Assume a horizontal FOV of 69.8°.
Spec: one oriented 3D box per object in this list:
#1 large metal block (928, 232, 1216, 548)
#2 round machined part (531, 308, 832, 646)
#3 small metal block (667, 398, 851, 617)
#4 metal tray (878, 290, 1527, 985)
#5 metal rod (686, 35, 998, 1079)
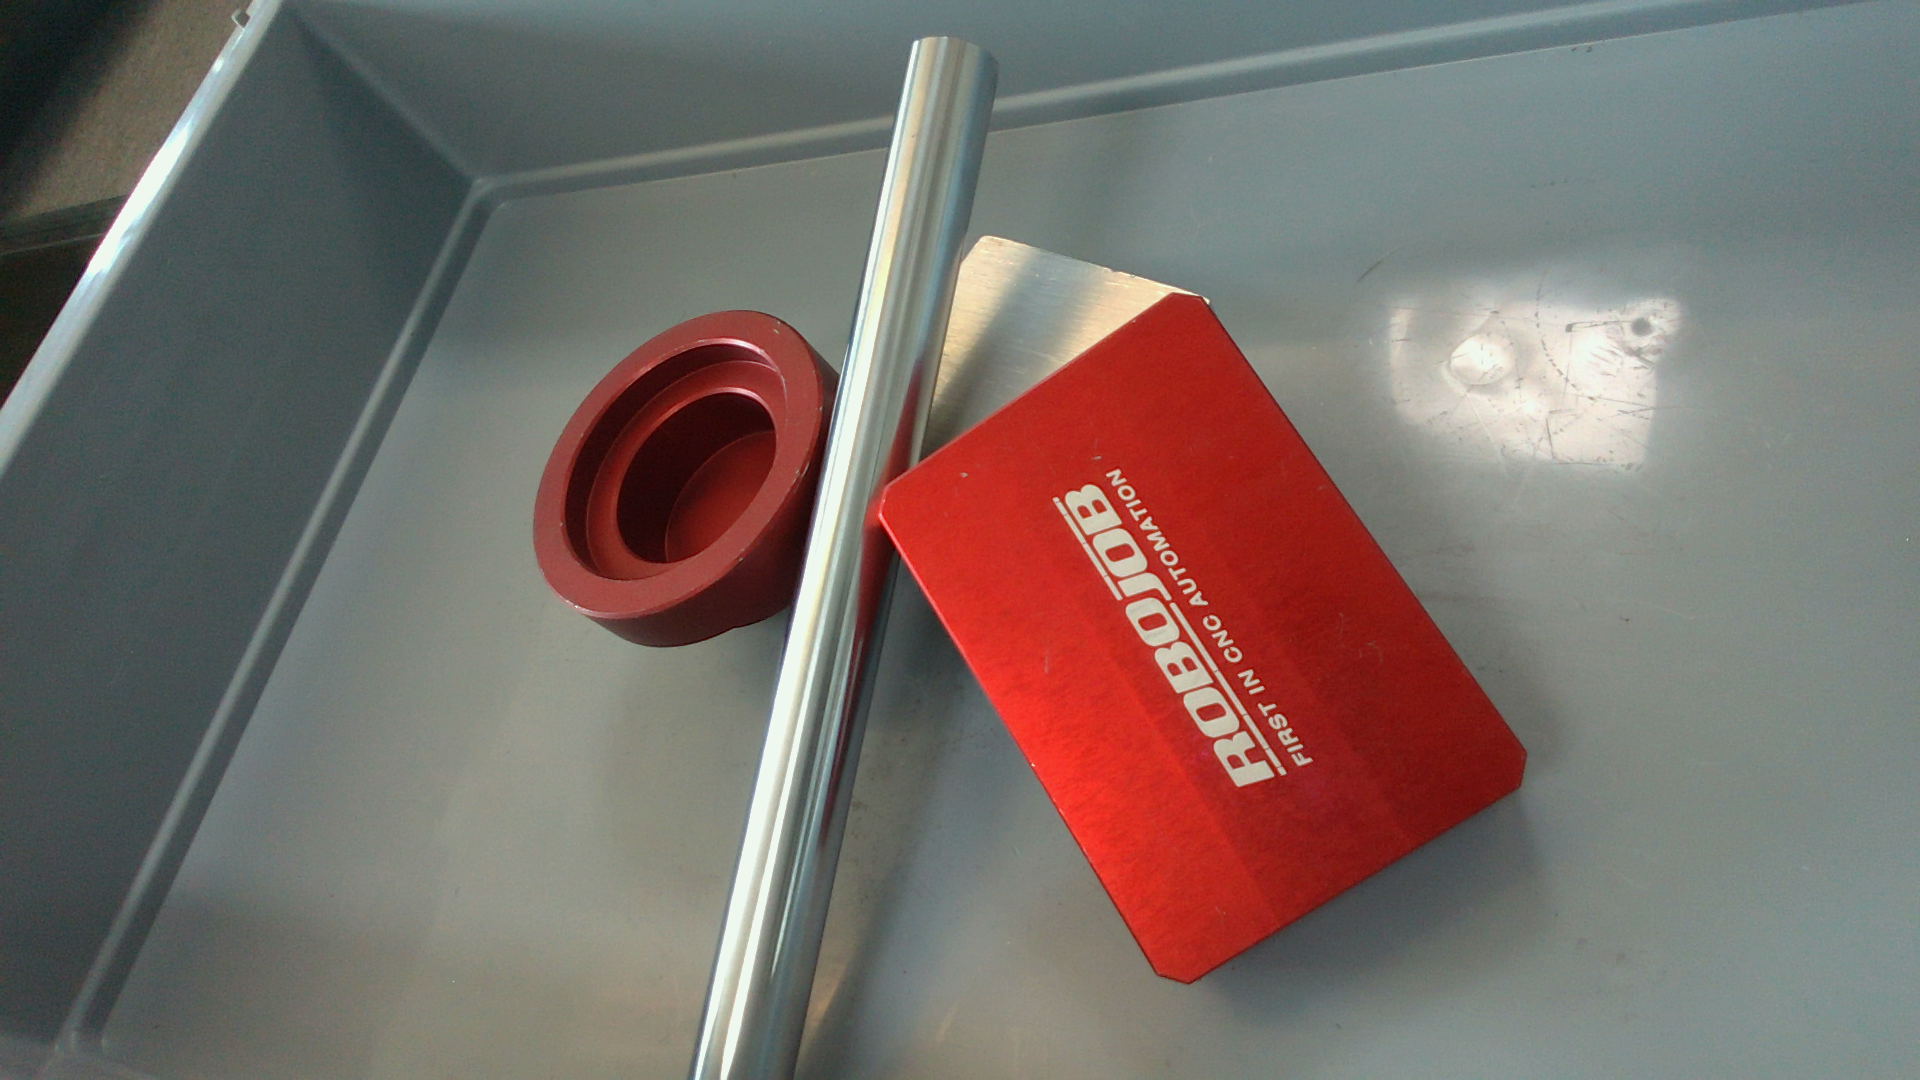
[{"bbox_3d":[0.023,-0.031,0.383,0.080,0.050,0.080,25,75,37],"label":"large metal block"},{"bbox_3d":[-0.071,-0.014,0.393,0.098,0.042,0.098,-15,55,23],"label":"round machined part"},{"bbox_3d":[-0.064,-0.010,0.434,0.050,0.025,0.050,-20,54,16],"label":"small metal block"},{"bbox_3d":[0.052,0.021,0.316,0.090,0.030,0.130,-34,76,7],"label":"metal tray"},{"bbox_3d":[-0.031,0.017,0.347,0.025,0.025,0.300,6,80,31],"label":"metal rod"}]
